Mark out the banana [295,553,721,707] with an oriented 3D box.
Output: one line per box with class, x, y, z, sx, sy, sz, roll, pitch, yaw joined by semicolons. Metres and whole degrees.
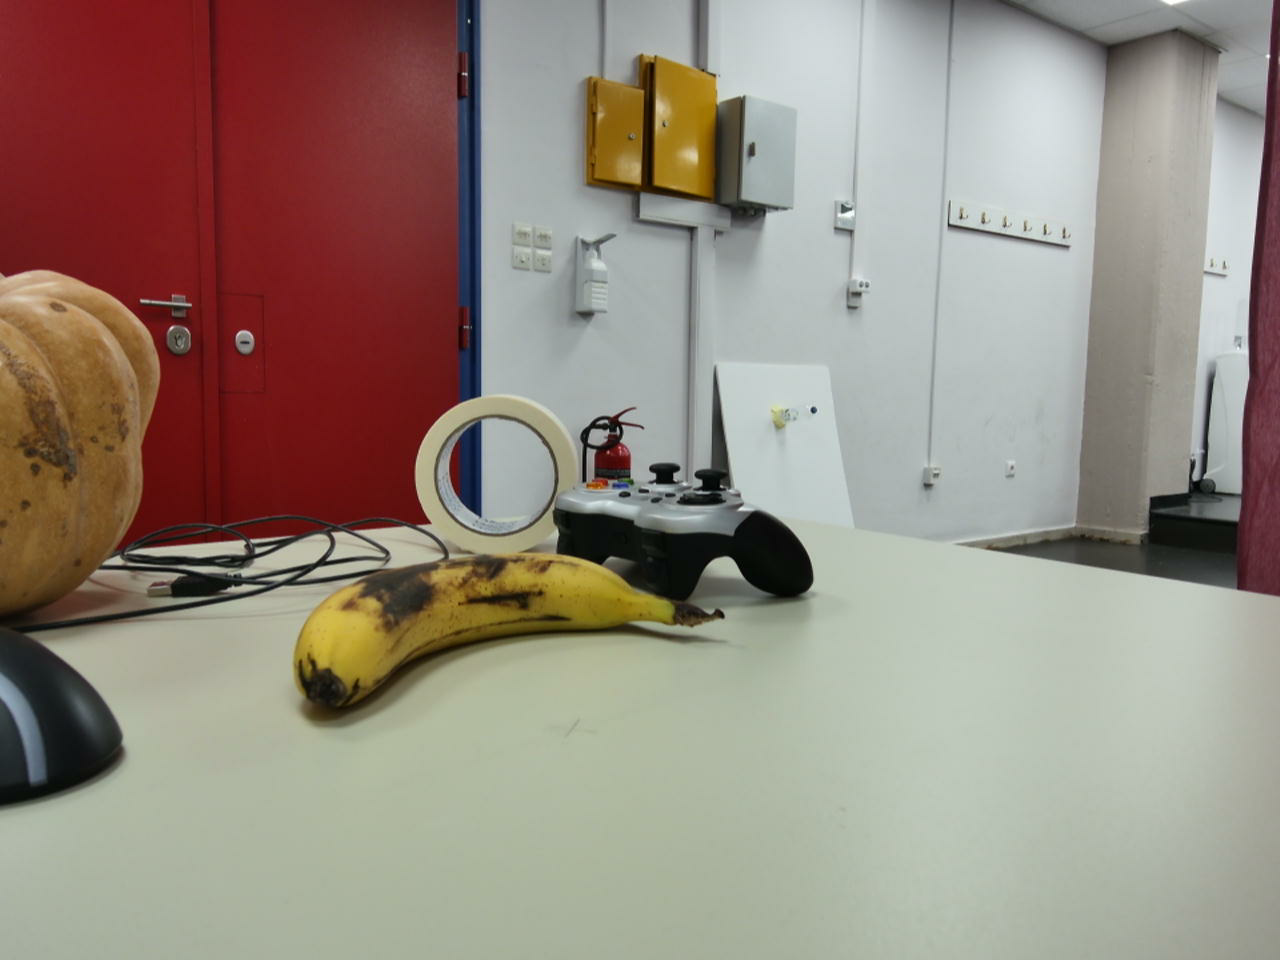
banana;-0.065;0.056;0.423;0.187;0.039;0.094;-4;5;-40
